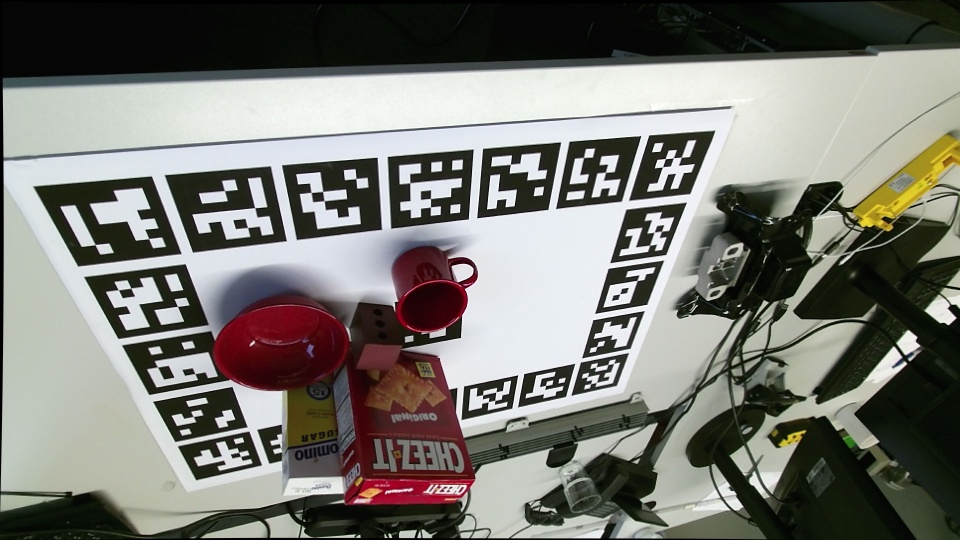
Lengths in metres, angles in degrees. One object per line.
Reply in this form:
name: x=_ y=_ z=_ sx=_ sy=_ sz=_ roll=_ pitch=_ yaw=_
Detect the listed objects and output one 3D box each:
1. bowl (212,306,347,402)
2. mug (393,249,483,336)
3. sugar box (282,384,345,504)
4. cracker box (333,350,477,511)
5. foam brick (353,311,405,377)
bowl: x=-0.255 y=0.098 z=0.683 sx=0.162 sy=0.055 sz=0.162 roll=-11 pitch=131 yaw=-13
mug: x=-0.054 y=0.024 z=0.695 sx=0.117 sy=0.081 sz=0.093 roll=-17 pitch=141 yaw=-11
sugar box: x=-0.222 y=0.237 z=0.747 sx=0.093 sy=0.175 sz=0.045 roll=9 pitch=124 yaw=-29
cracker box: x=-0.110 y=0.221 z=0.756 sx=0.165 sy=0.212 sz=0.072 roll=18 pitch=122 yaw=-33
foam brick: x=-0.141 y=0.102 z=0.739 sx=0.053 sy=0.078 sz=0.051 roll=4 pitch=127 yaw=-26
